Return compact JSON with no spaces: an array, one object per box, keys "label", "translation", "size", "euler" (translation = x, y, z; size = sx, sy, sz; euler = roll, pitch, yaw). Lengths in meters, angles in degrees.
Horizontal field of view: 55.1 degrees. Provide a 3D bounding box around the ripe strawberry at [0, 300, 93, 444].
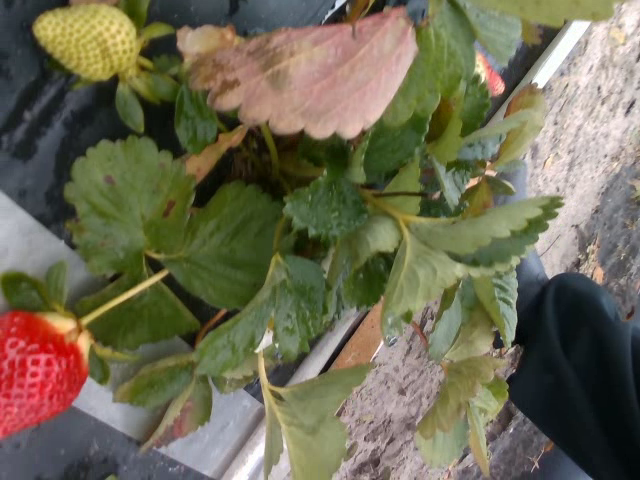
[{"label":"ripe strawberry","translation":[-0.096,0.046,0.188],"size":[0.037,0.051,0.042],"euler":[35,-31,5]}]
